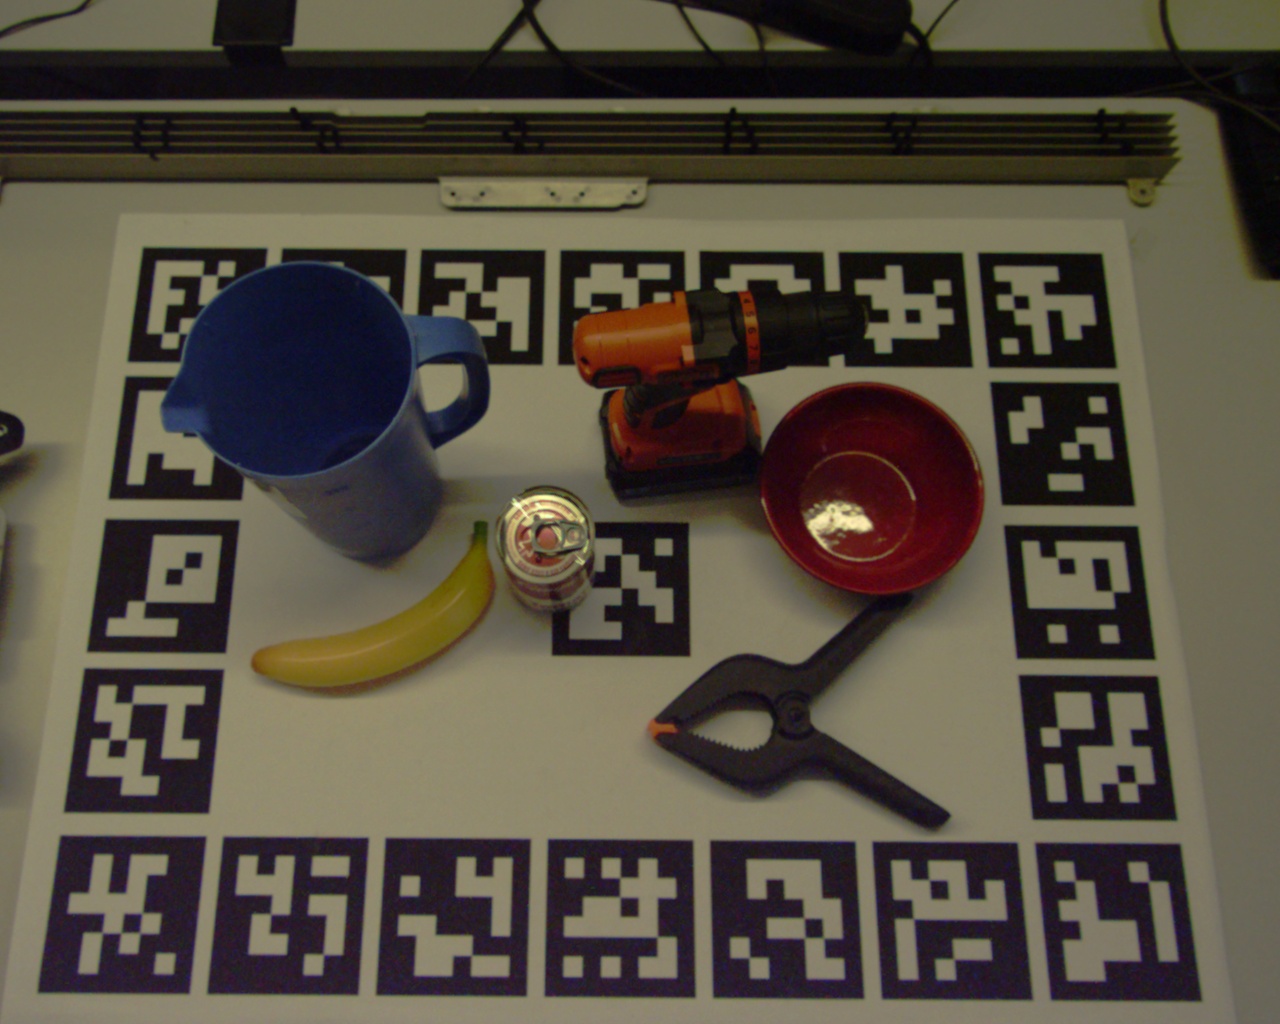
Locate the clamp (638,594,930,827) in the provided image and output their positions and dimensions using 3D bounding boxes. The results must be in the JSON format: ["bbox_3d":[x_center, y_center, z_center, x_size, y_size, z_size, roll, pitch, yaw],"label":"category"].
[{"bbox_3d":[0.099,0.144,0.819,0.203,0.036,0.165,-2,78,-1],"label":"clamp"}]

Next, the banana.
[{"bbox_3d":[-0.193,0.080,0.847,0.197,0.039,0.075,-25,67,-8],"label":"banana"}]

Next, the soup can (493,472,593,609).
[{"bbox_3d":[-0.068,0.023,0.829,0.068,0.102,0.068,0,66,-1],"label":"soup can"}]

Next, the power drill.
[{"bbox_3d":[0.051,-0.087,0.796,0.184,0.187,0.057,-5,75,-3],"label":"power drill"}]

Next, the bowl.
[{"bbox_3d":[0.158,-0.009,0.860,0.162,0.055,0.162,0,75,0],"label":"bowl"}]

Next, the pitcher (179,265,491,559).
[{"bbox_3d":[-0.187,-0.056,0.778,0.188,0.242,0.134,-23,73,-7],"label":"pitcher"}]
